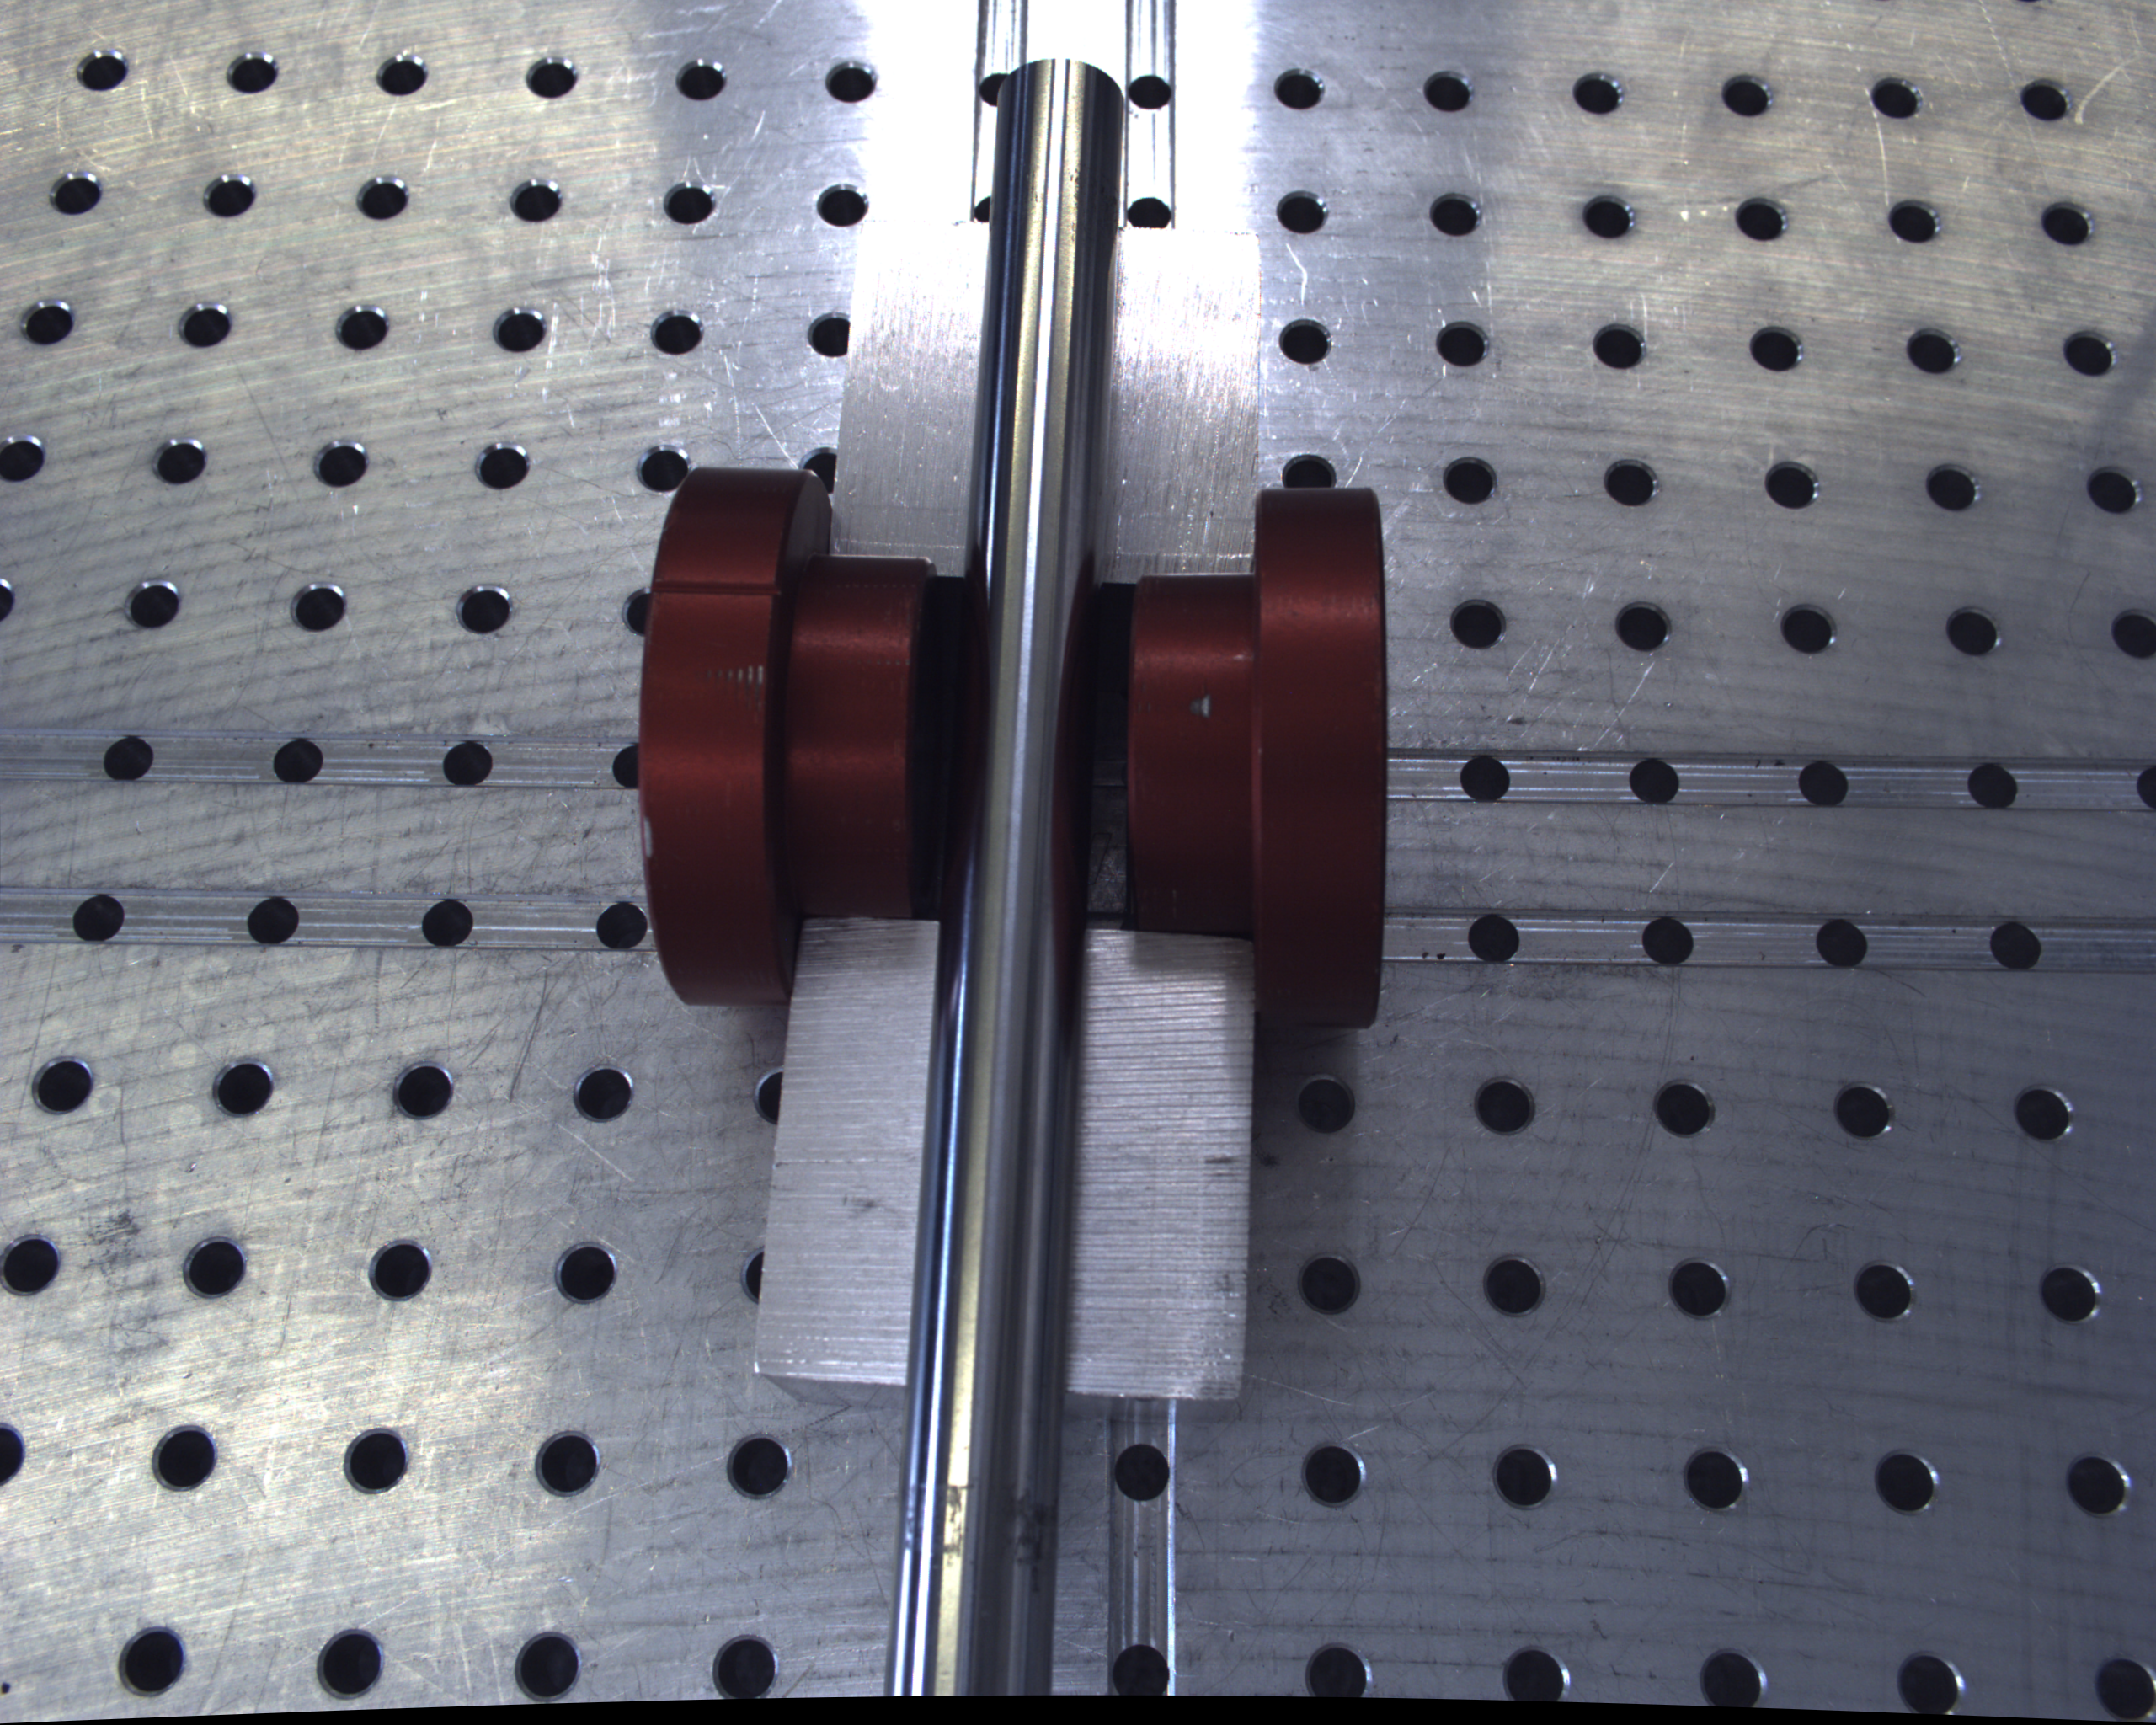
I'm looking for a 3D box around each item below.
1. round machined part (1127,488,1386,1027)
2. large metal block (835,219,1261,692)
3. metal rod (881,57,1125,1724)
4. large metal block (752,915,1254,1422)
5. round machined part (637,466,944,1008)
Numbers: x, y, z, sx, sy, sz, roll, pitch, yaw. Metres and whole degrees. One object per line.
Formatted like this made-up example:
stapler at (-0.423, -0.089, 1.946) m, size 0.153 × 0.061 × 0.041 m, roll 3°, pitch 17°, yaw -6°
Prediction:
round machined part at (0.032, -0.019, 0.380) m, size 0.042 × 0.098 × 0.098 m, roll 0°, pitch 70°, yaw 5°
large metal block at (-0.005, -0.082, 0.428) m, size 0.080 × 0.050 × 0.080 m, roll 2°, pitch 70°, yaw 0°
metal rod at (-0.010, -0.010, 0.362) m, size 0.025 × 0.025 × 0.299 m, roll 3°, pitch 70°, yaw 1°
large metal block at (-0.011, 0.057, 0.377) m, size 0.080 × 0.050 × 0.080 m, roll 3°, pitch 70°, yaw 1°
round machined part at (-0.048, -0.022, 0.380) m, size 0.042 × 0.098 × 0.098 m, roll 2°, pitch 70°, yaw 1°
